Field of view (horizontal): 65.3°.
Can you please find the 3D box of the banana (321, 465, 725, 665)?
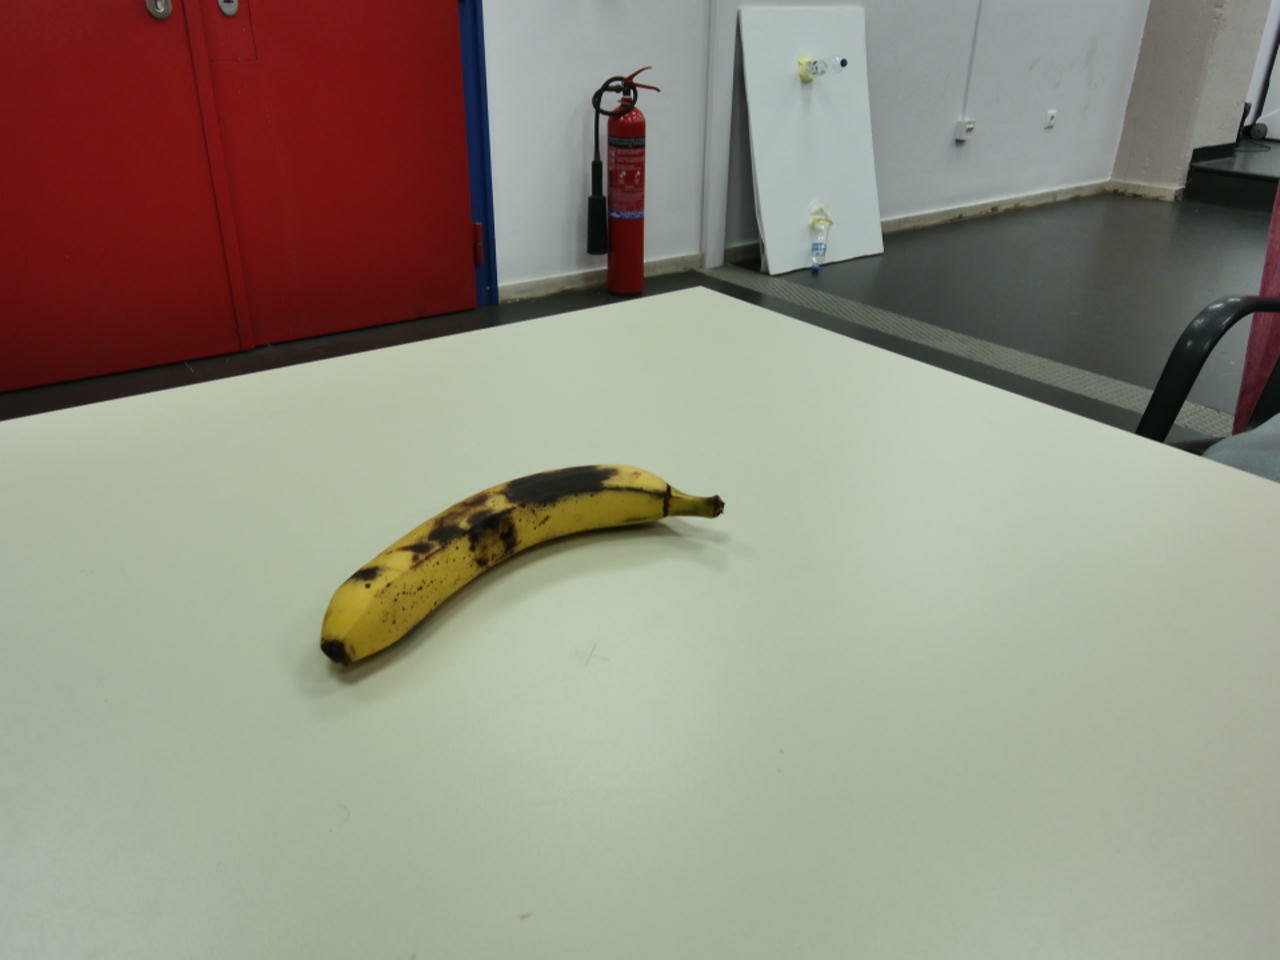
[{"bbox_3d":[-0.065,0.030,0.503,0.222,0.037,0.084,-17,30,-34],"label":"banana"}]
